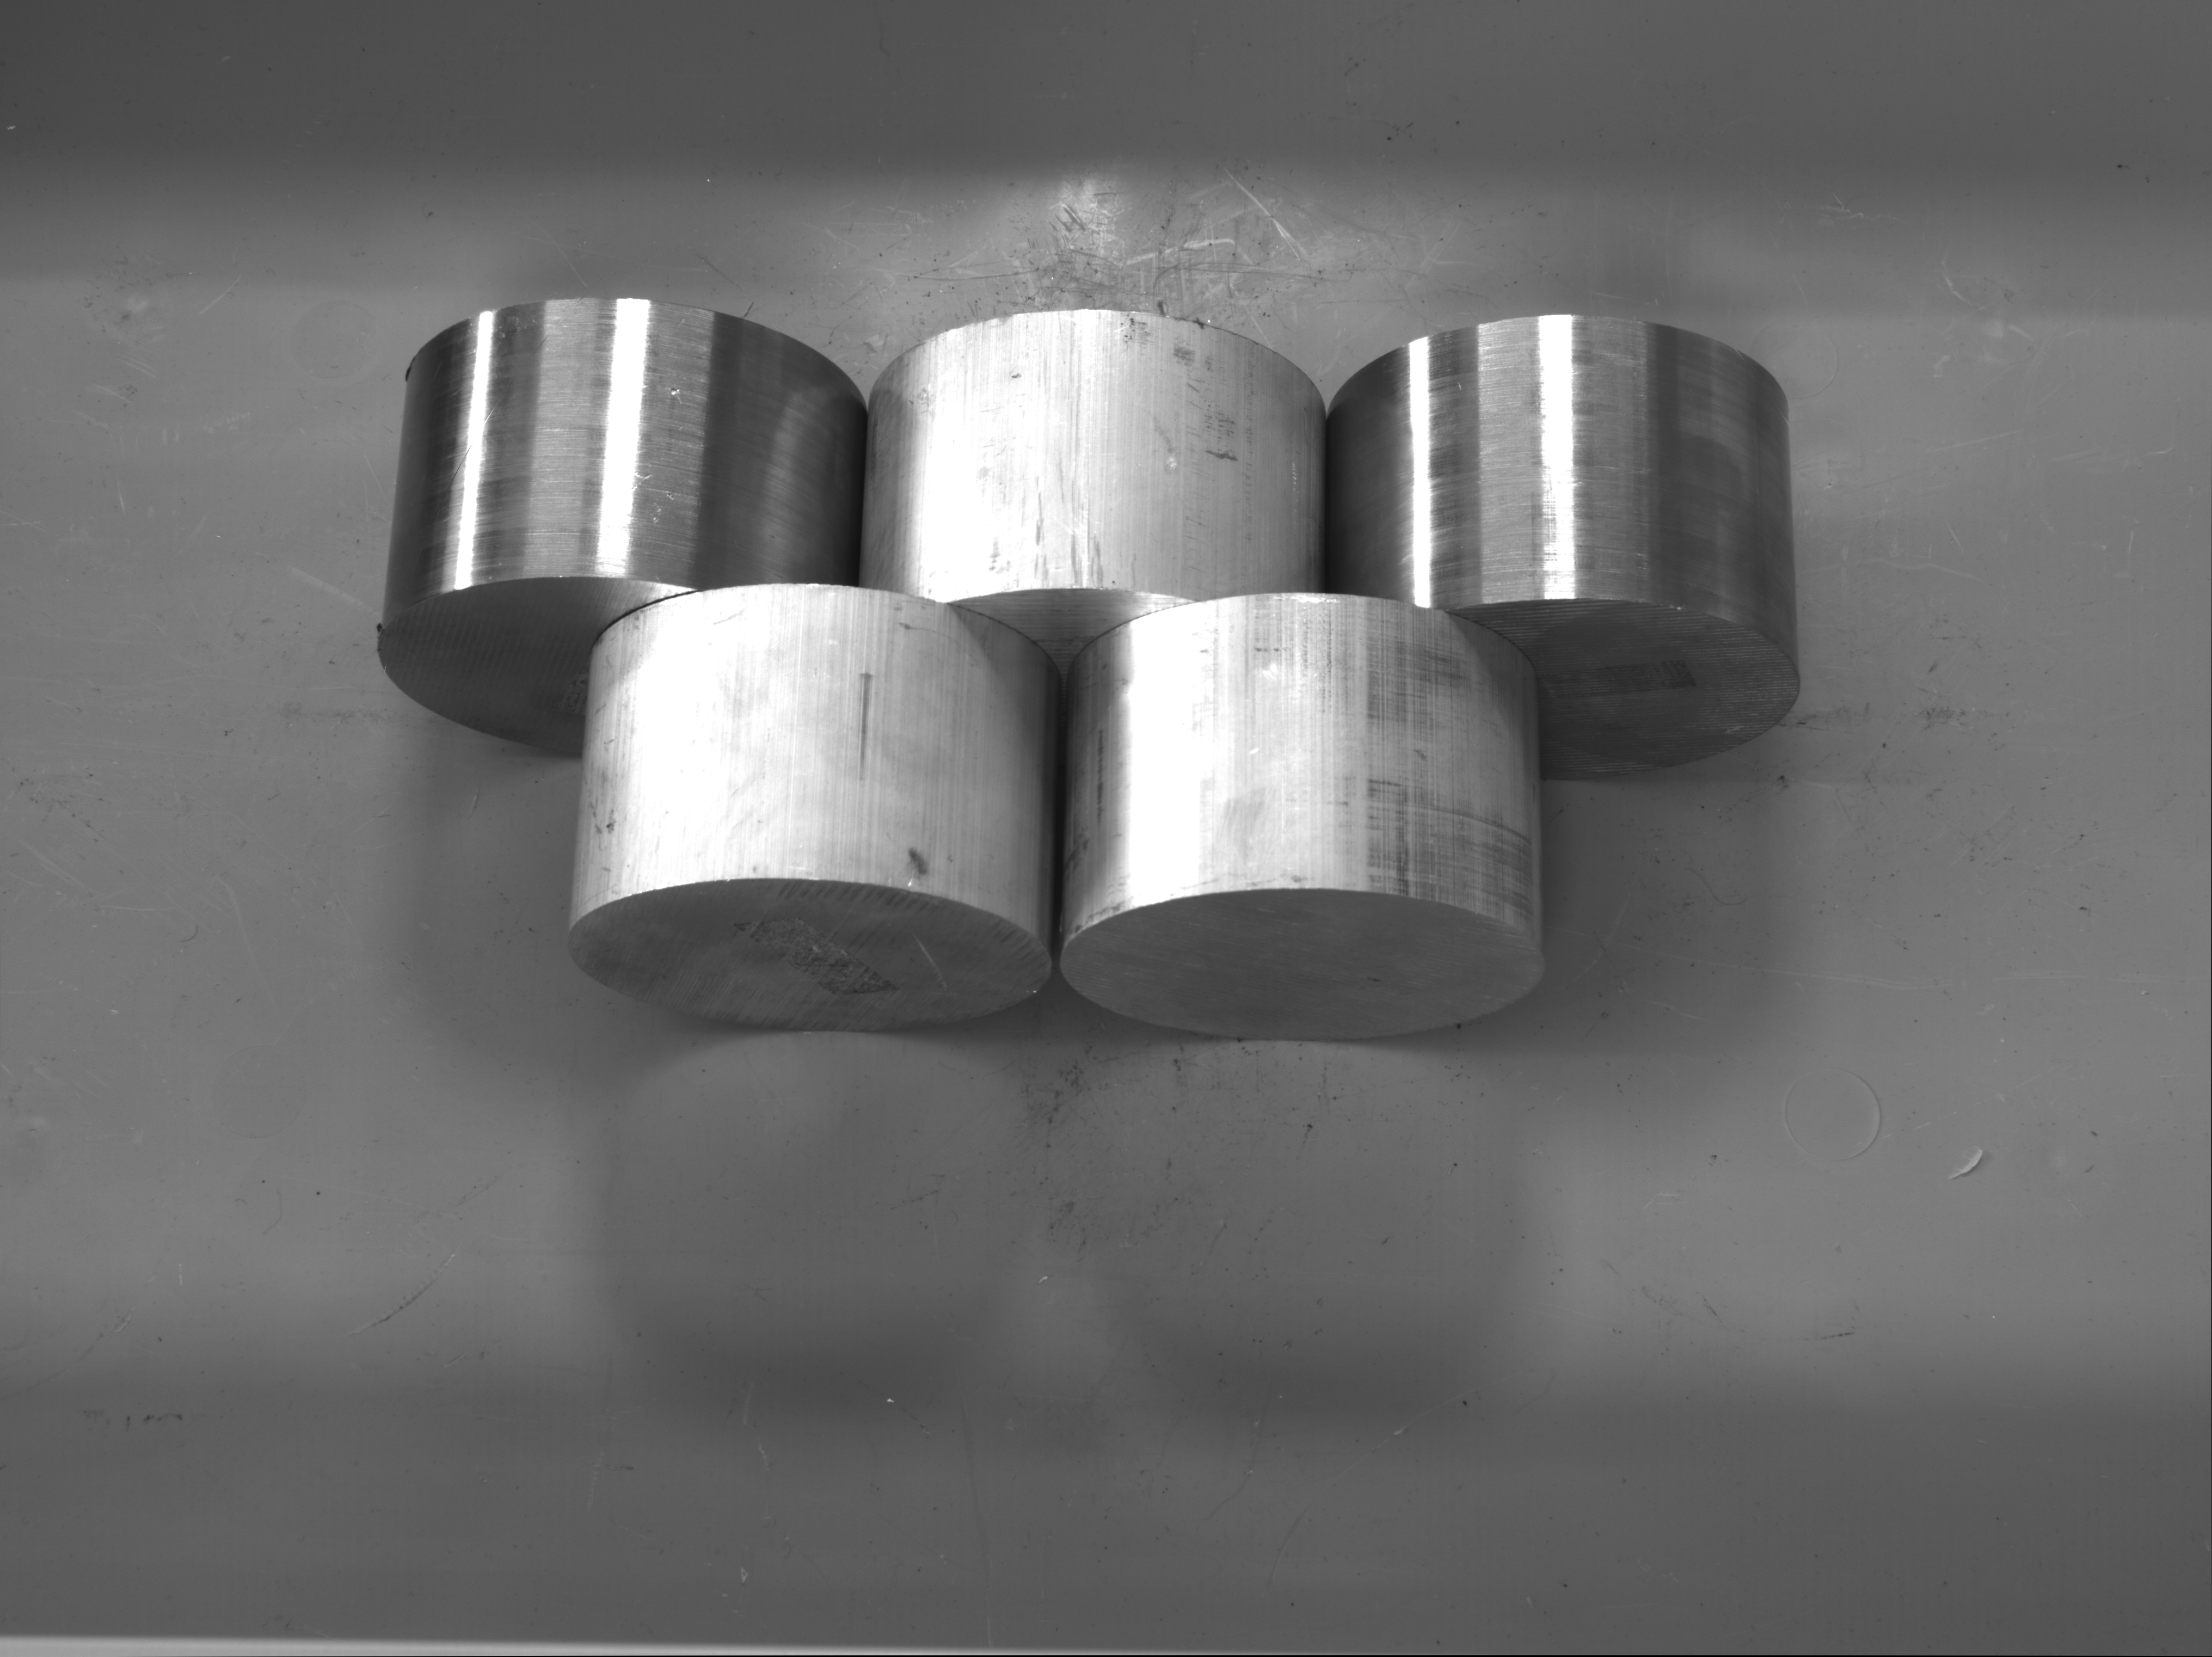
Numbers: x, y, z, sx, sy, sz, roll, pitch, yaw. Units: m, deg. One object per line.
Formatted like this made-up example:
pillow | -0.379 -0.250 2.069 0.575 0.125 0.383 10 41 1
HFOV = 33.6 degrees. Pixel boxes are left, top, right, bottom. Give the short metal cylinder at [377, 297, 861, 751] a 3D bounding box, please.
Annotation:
short metal cylinder | -0.083 -0.050 0.632 0.080 0.080 0.050 1 70 0

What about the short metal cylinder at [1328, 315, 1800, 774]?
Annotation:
short metal cylinder | 0.078 -0.047 0.631 0.080 0.080 0.050 2 70 1

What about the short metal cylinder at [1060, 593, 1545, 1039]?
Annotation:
short metal cylinder | 0.033 0.000 0.614 0.080 0.080 0.050 1 70 0

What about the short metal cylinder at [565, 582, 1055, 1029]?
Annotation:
short metal cylinder | -0.049 -0.002 0.615 0.080 0.080 0.050 1 70 0

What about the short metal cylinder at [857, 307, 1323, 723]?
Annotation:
short metal cylinder | -0.002 -0.048 0.632 0.080 0.080 0.050 1 70 0
